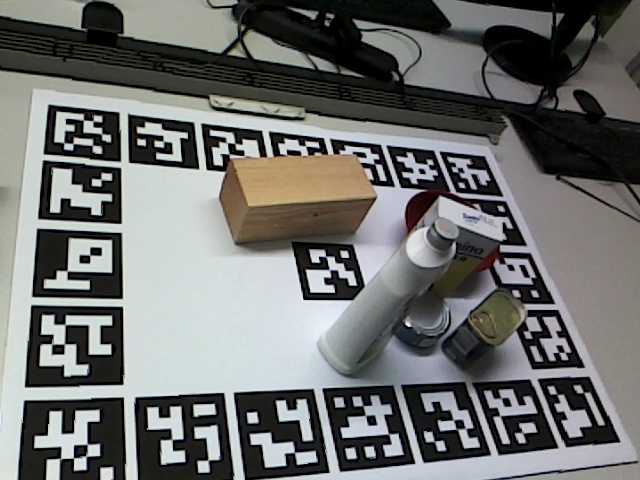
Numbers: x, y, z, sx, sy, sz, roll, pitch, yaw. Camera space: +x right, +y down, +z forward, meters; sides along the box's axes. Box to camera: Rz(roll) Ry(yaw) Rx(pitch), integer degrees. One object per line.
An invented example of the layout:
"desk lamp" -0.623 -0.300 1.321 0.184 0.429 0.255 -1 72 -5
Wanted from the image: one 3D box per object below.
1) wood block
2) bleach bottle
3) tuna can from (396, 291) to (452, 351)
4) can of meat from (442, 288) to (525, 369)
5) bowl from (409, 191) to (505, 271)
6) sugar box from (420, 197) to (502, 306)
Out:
"wood block" -0.034 -0.059 0.913 0.205 0.090 0.091 -5 59 -28
"bleach bottle" 0.087 0.065 0.750 0.102 0.251 0.068 -22 63 -36
"tuna can" 0.140 0.113 0.877 0.085 0.034 0.086 11 52 -15
"can of meat" 0.230 0.127 0.880 0.101 0.084 0.058 -27 64 -39
"bowl" 0.209 -0.002 0.992 0.161 0.055 0.162 9 50 -12
"sugar box" 0.172 0.023 0.869 0.093 0.176 0.045 18 50 -5
